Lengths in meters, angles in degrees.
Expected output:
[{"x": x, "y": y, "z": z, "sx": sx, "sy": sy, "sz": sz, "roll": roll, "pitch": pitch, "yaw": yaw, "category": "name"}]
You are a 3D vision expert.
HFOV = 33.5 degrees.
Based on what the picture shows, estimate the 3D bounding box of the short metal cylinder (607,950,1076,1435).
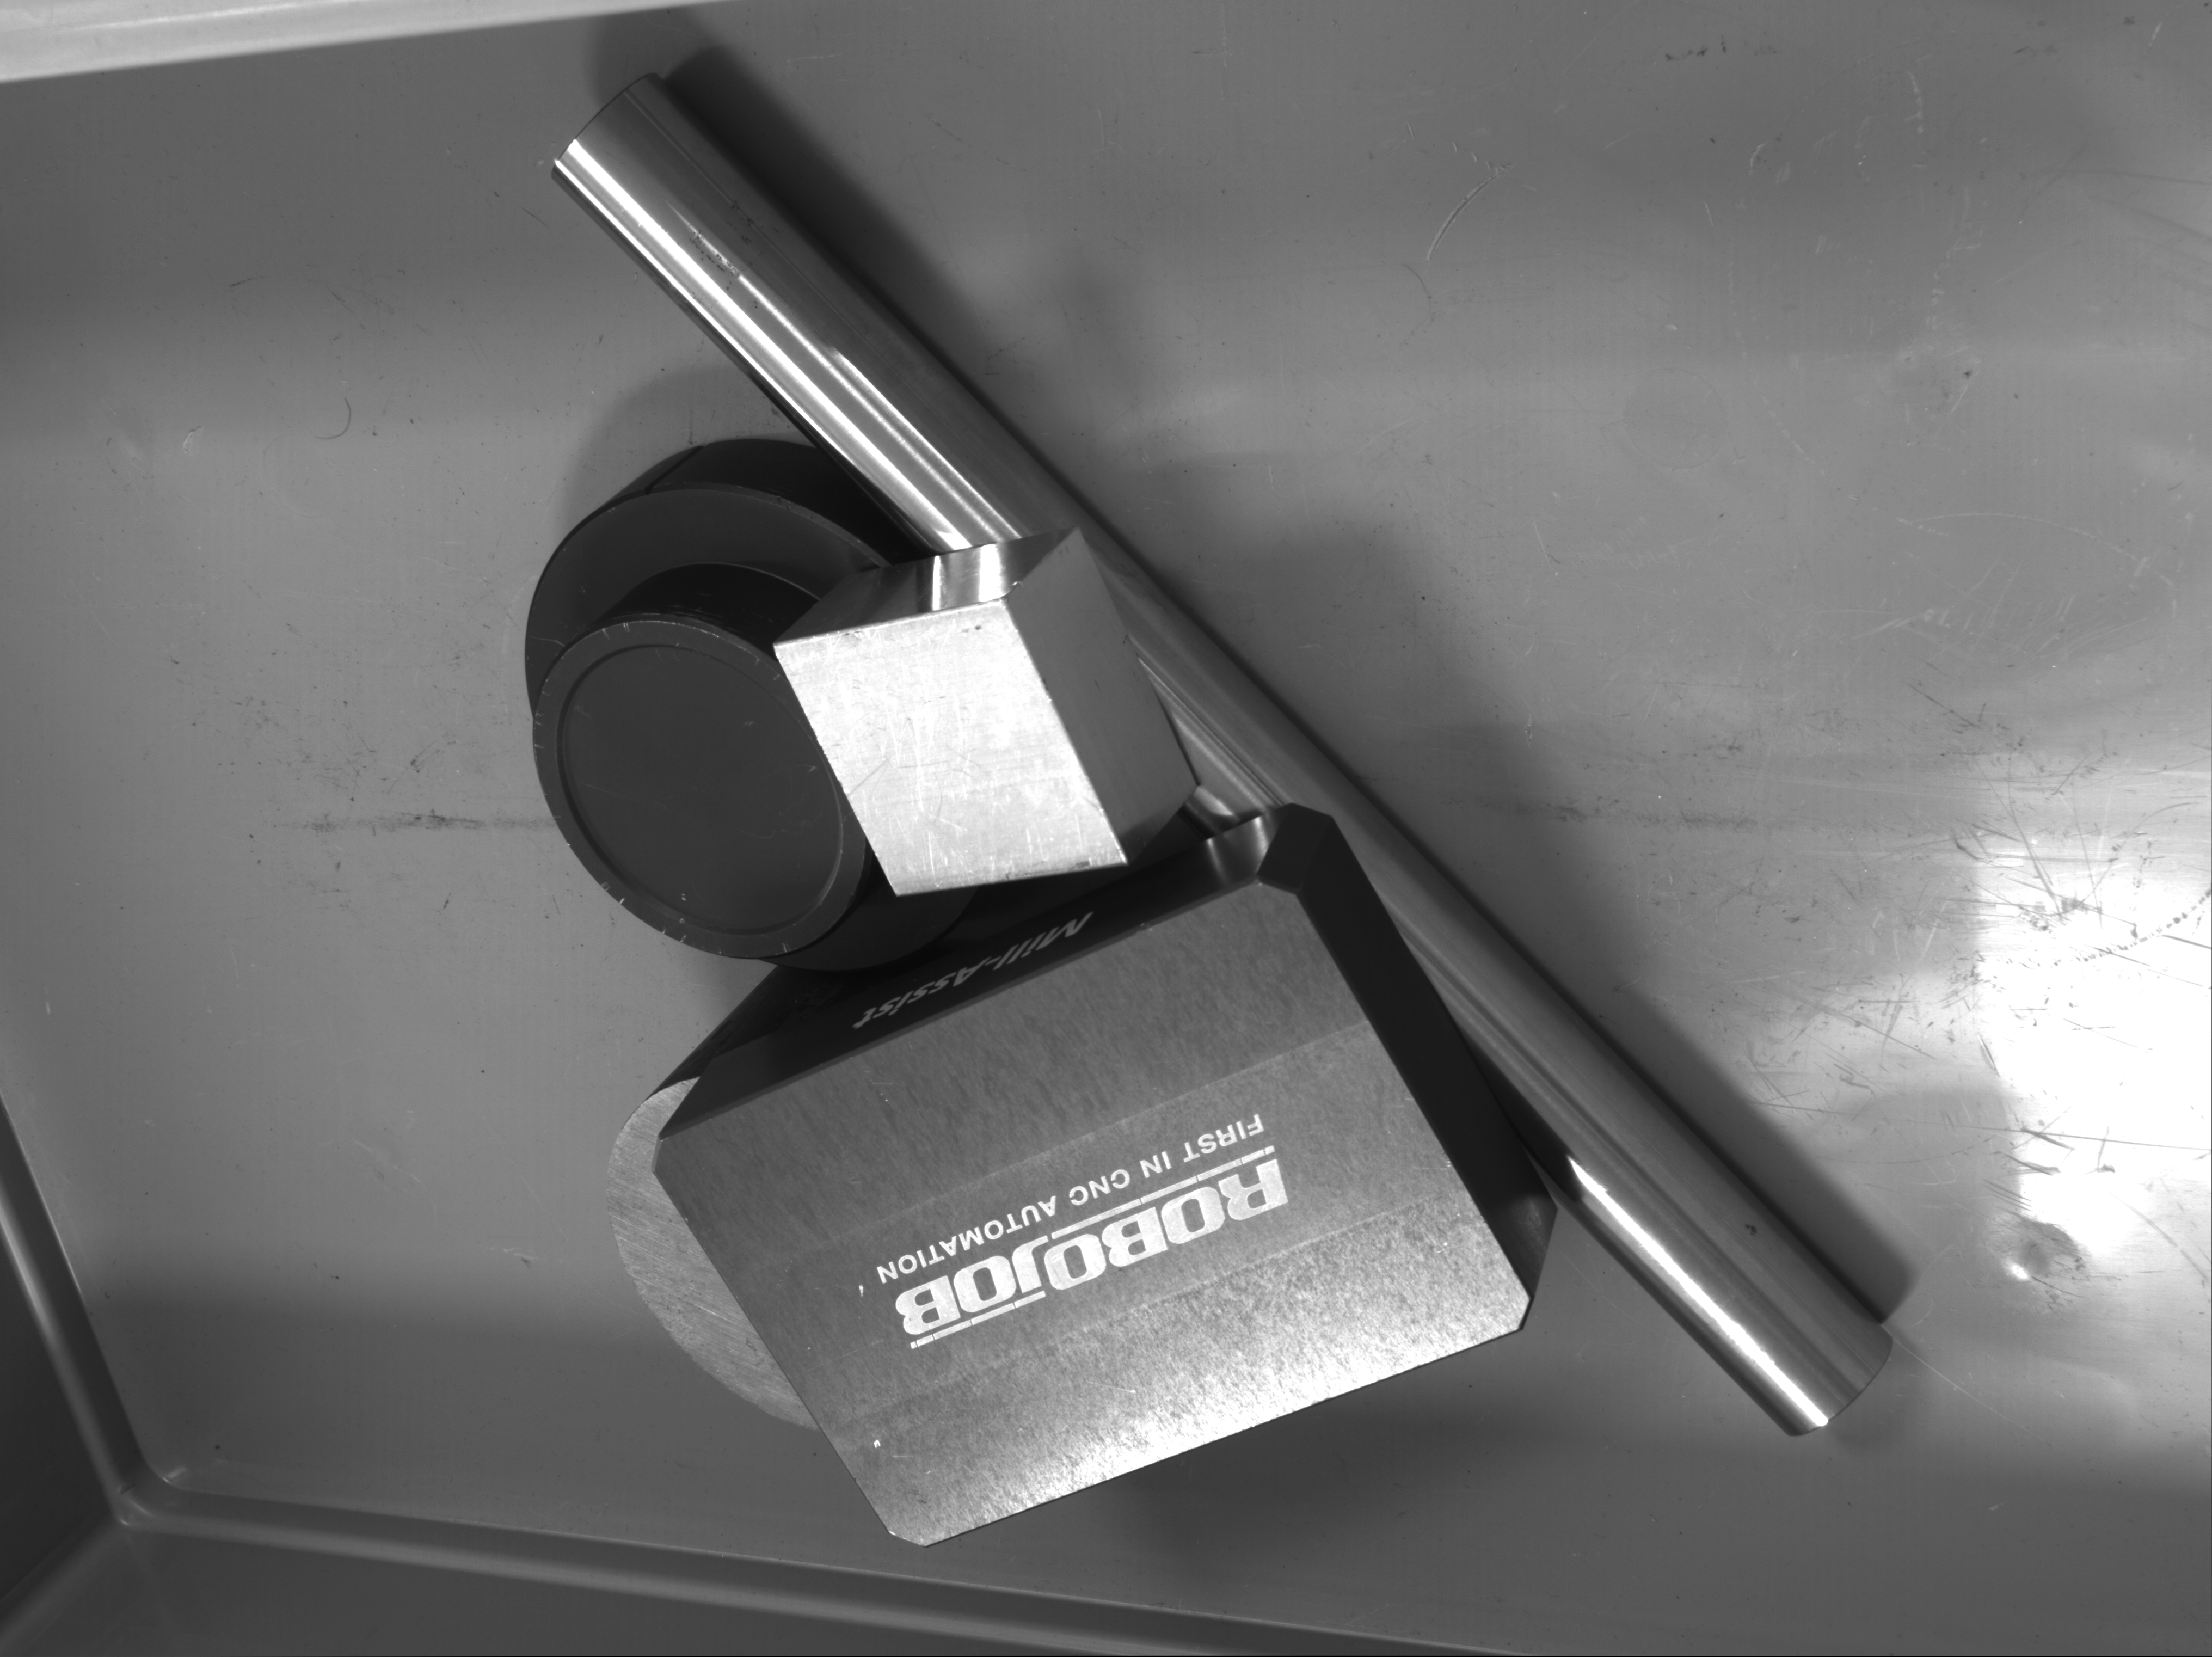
[{"x": -0.046, "y": 0.068, "z": 0.691, "sx": 0.080, "sy": 0.050, "sz": 0.080, "roll": 13, "pitch": 124, "yaw": 21, "category": "short metal cylinder"}]

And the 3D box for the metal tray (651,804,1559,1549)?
[{"x": -0.001, "y": 0.062, "z": 0.626, "sx": 0.130, "sy": 0.030, "sz": 0.090, "roll": -24, "pitch": 106, "yaw": 23, "category": "metal tray"}]

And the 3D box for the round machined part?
[{"x": -0.063, "y": -0.016, "z": 0.653, "sx": 0.098, "sy": 0.042, "sz": 0.098, "roll": 14, "pitch": 125, "yaw": 22, "category": "round machined part"}]

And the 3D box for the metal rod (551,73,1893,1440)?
[{"x": 0.021, "y": -0.011, "z": 0.624, "sx": 0.300, "sy": 0.025, "sz": 0.025, "roll": 45, "pitch": 129, "yaw": -3, "category": "metal rod"}]

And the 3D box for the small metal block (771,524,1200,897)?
[{"x": -0.020, "y": -0.019, "z": 0.610, "sx": 0.050, "sy": 0.025, "sz": 0.050, "roll": -8, "pitch": 117, "yaw": 37, "category": "small metal block"}]
